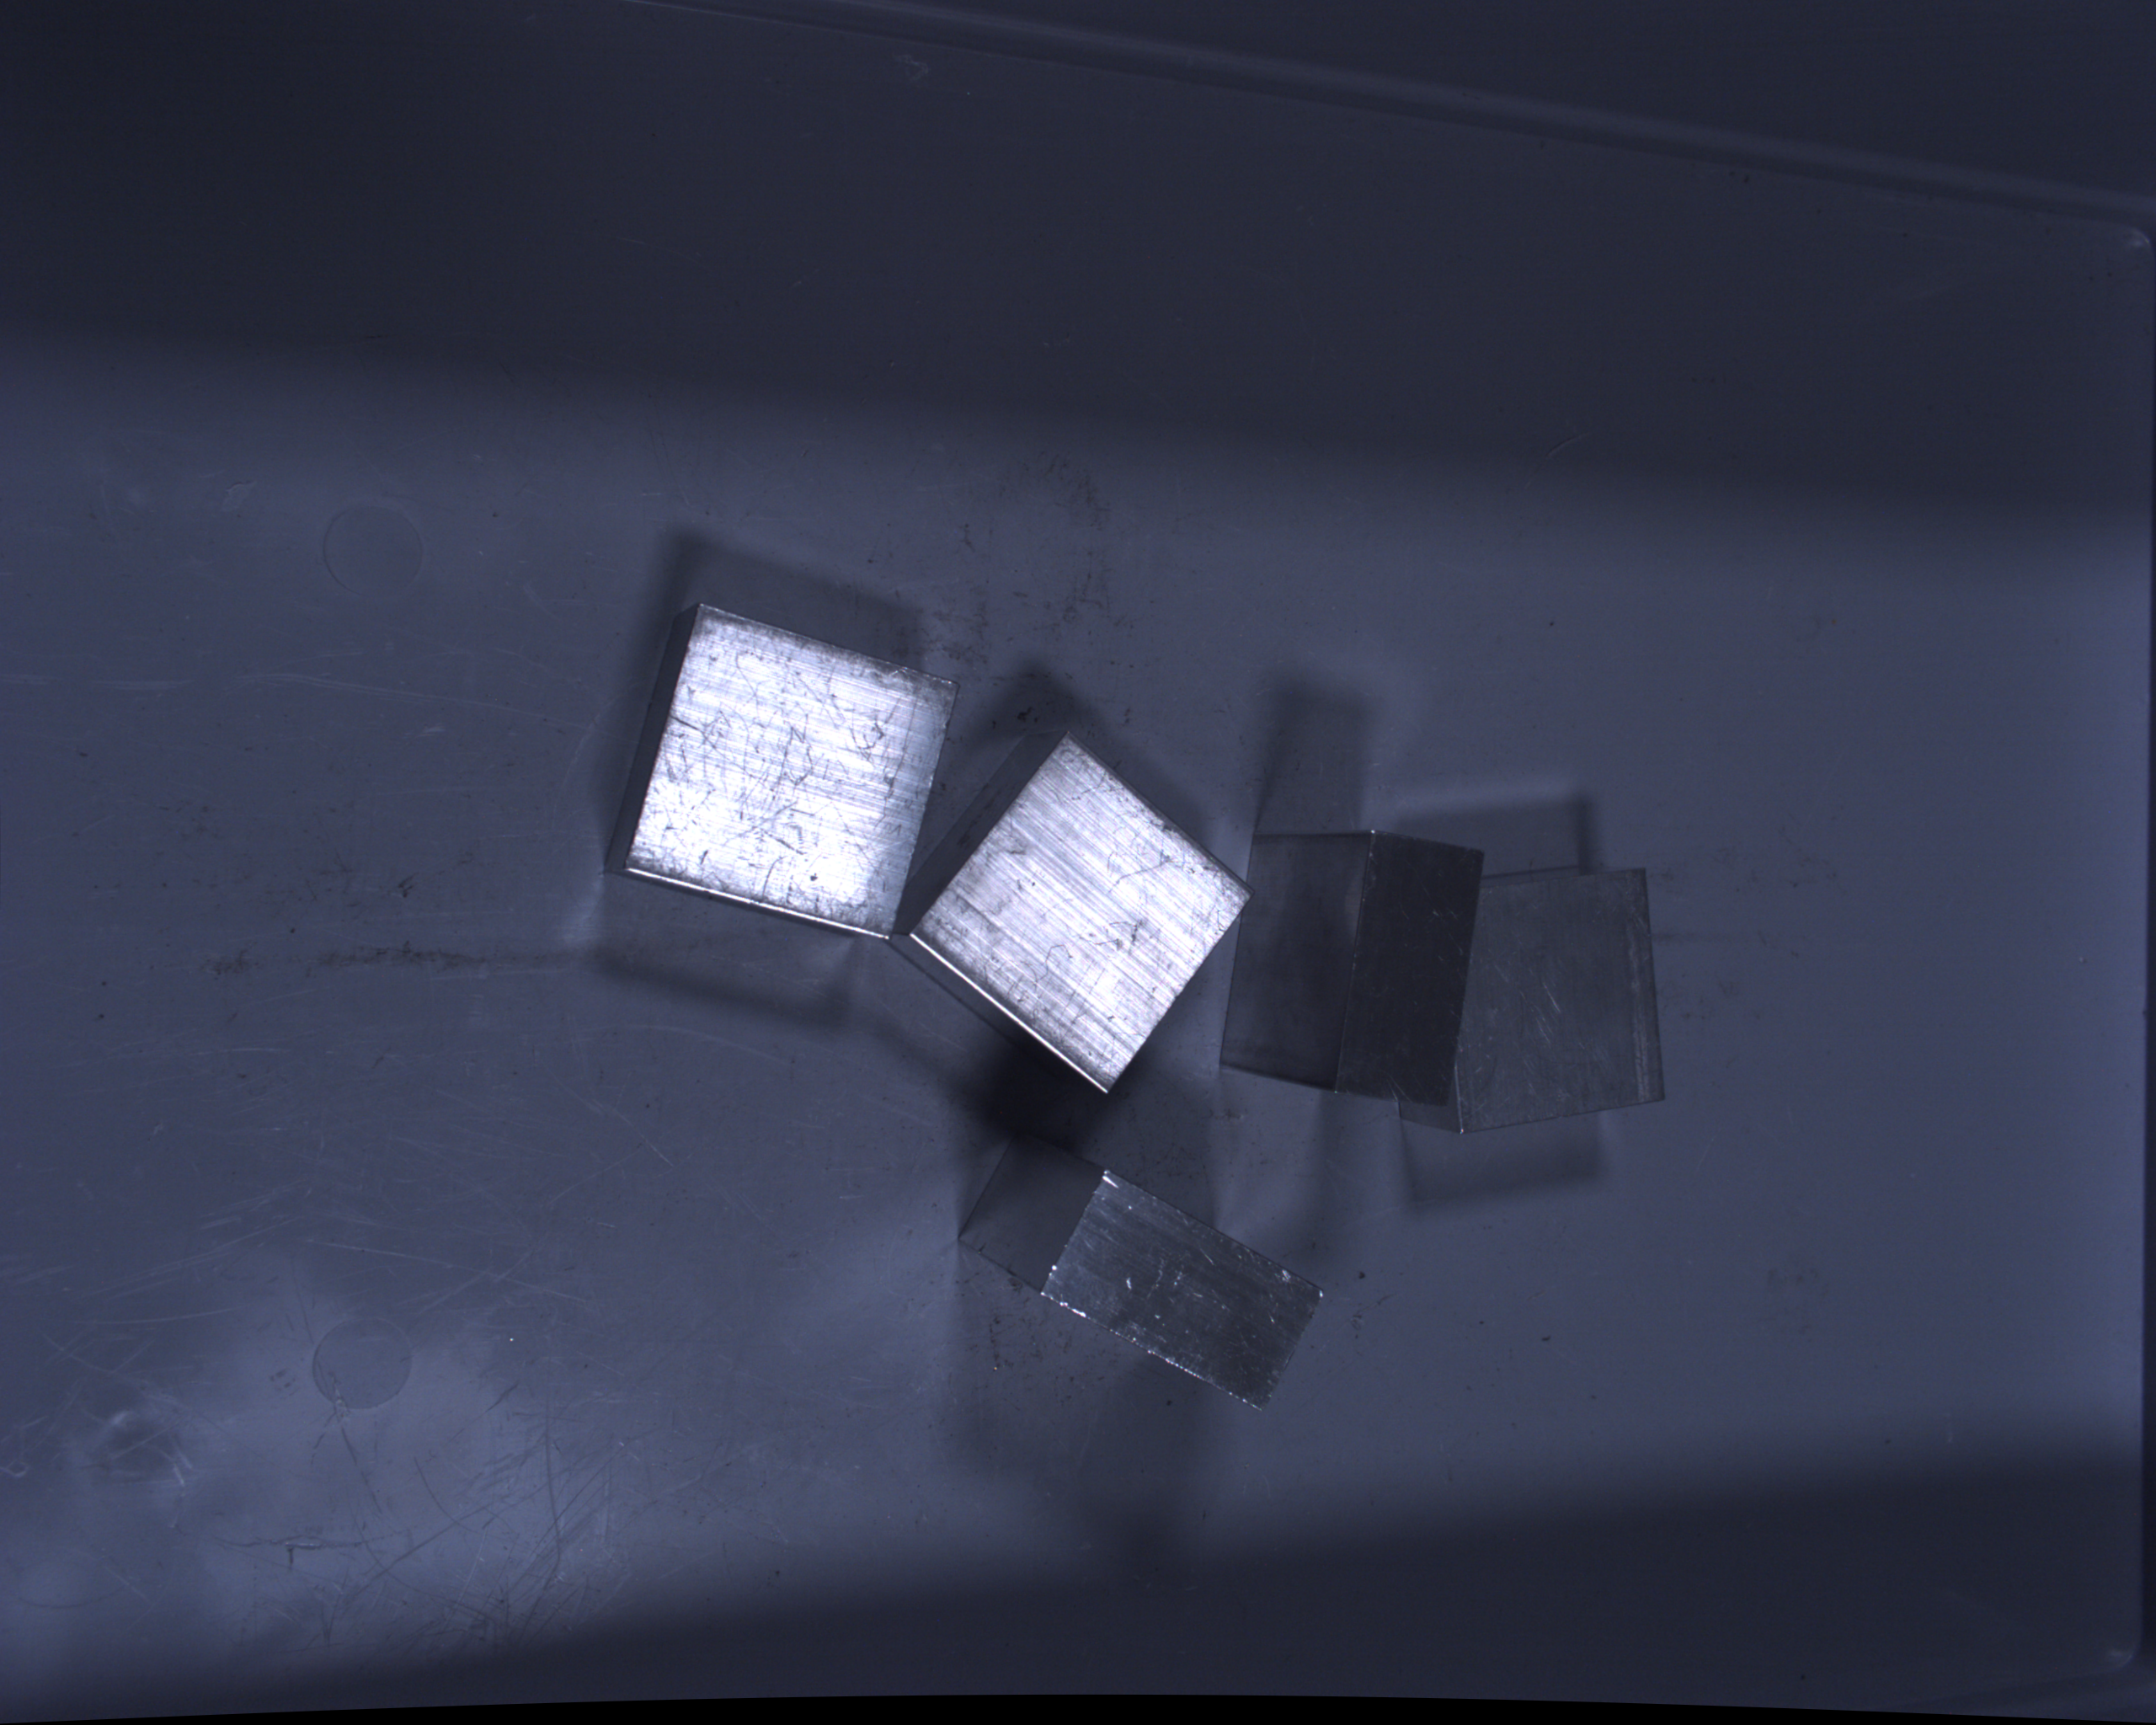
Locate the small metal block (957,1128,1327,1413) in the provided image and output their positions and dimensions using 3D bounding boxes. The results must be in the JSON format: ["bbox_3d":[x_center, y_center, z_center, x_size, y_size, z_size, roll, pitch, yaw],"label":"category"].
[{"bbox_3d":[0.011,0.077,0.400,0.050,0.050,0.025,32,81,-18],"label":"small metal block"}]

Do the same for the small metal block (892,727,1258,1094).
[{"bbox_3d":[-0.002,0.009,0.408,0.050,0.025,0.050,41,77,-16],"label":"small metal block"}]

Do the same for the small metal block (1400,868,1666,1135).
[{"bbox_3d":[0.095,0.028,0.445,0.050,0.025,0.050,-6,92,-20],"label":"small metal block"}]

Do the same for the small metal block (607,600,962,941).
[{"bbox_3d":[-0.055,-0.016,0.388,0.050,0.025,0.050,16,85,-20],"label":"small metal block"}]

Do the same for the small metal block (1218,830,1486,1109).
[{"bbox_3d":[0.054,0.020,0.417,0.025,0.050,0.050,10,87,-21],"label":"small metal block"}]
